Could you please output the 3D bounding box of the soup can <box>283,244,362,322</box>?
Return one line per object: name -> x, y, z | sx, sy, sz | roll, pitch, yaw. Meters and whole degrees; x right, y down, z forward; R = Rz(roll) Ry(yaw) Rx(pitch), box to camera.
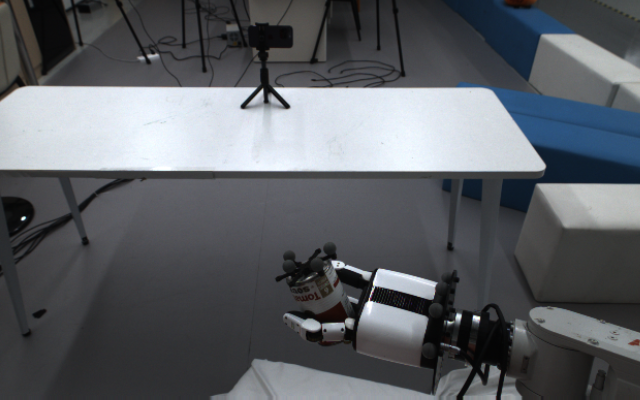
soup can -> 0.007, 0.137, 0.661 | 0.067, 0.101, 0.067 | -24, 16, 7
